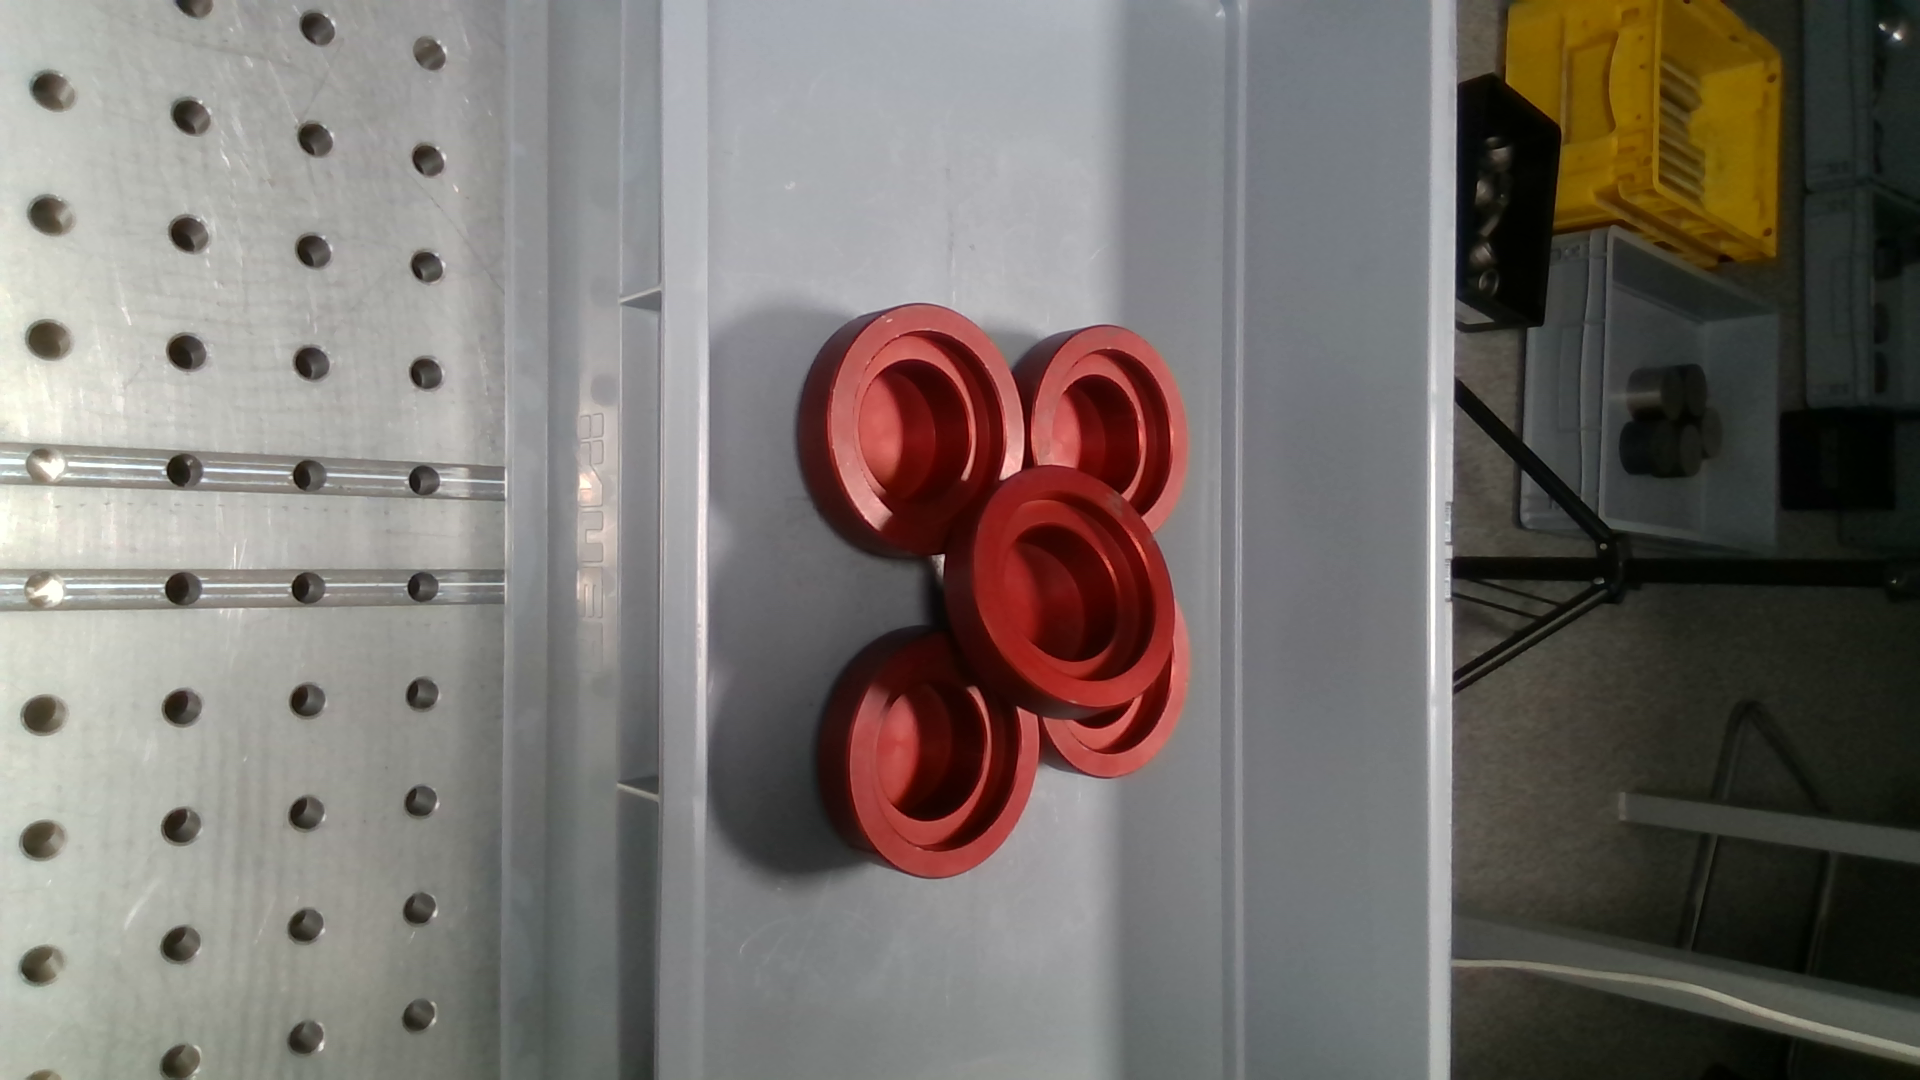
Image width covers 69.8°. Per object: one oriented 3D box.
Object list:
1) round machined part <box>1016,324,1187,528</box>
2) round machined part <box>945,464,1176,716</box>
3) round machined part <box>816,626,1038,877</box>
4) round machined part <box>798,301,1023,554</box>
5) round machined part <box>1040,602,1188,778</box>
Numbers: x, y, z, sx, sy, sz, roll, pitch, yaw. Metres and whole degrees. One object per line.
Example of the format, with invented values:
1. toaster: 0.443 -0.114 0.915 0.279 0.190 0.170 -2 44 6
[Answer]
1. round machined part: 0.054 -0.045 0.616 0.098 0.042 0.098 0 90 -40
2. round machined part: 0.035 0.023 0.544 0.098 0.042 0.098 14 64 -30
3. round machined part: -0.018 0.083 0.556 0.098 0.042 0.098 0 90 -40
4. round machined part: -0.024 -0.043 0.550 0.098 0.042 0.098 0 90 -40
5. round machined part: 0.055 0.055 0.617 0.098 0.042 0.098 0 90 -40
